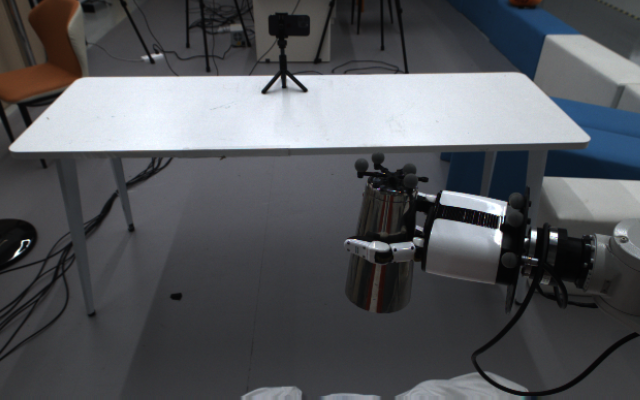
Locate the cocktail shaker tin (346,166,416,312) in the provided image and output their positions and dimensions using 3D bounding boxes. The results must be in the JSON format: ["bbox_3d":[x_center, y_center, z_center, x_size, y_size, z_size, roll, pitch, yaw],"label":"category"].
[{"bbox_3d":[0.087,0.053,0.646,0.093,0.170,0.093,2,26,-1],"label":"cocktail shaker tin"}]
